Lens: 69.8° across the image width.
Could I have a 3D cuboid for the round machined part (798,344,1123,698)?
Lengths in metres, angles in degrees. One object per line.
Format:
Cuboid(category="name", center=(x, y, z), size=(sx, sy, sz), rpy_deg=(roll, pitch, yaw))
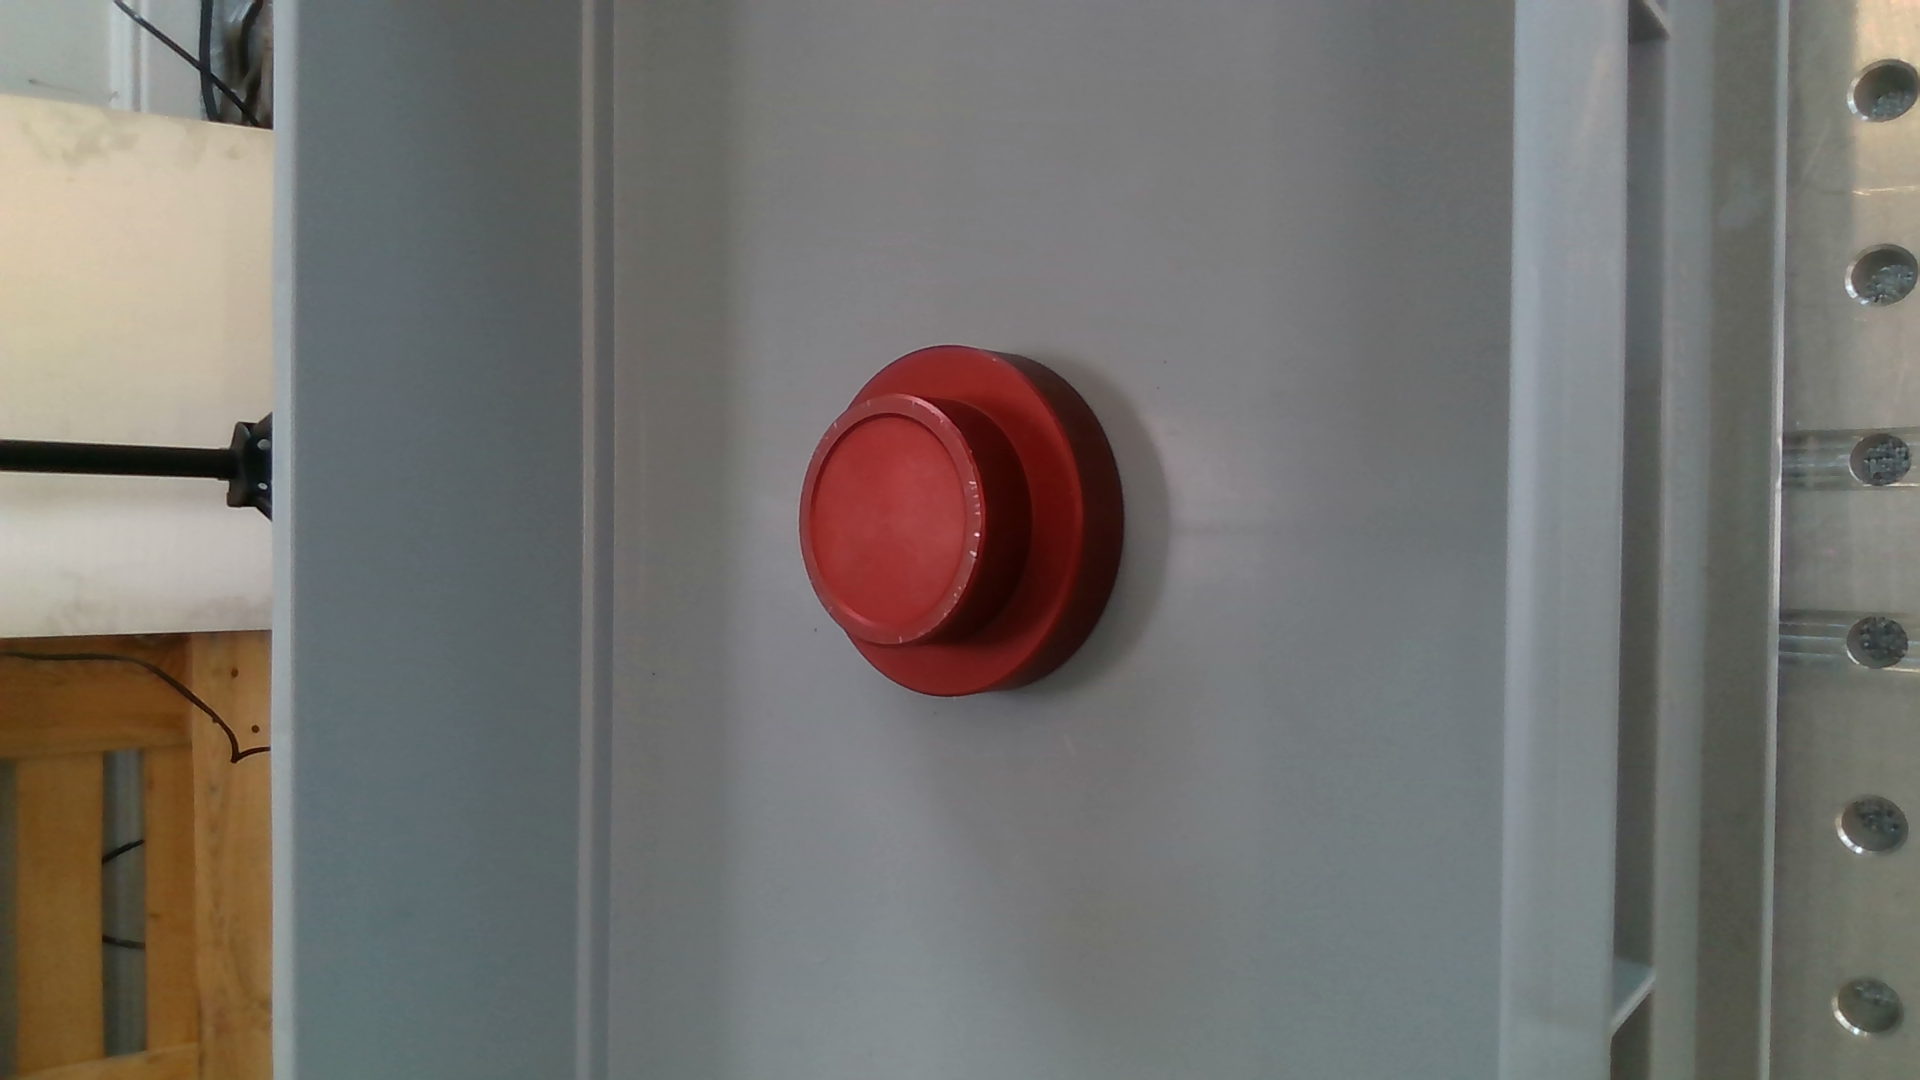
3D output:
Cuboid(category="round machined part", center=(-0.007, -0.005, 0.382), size=(0.098, 0.042, 0.098), rpy_deg=(0, 91, 40))
